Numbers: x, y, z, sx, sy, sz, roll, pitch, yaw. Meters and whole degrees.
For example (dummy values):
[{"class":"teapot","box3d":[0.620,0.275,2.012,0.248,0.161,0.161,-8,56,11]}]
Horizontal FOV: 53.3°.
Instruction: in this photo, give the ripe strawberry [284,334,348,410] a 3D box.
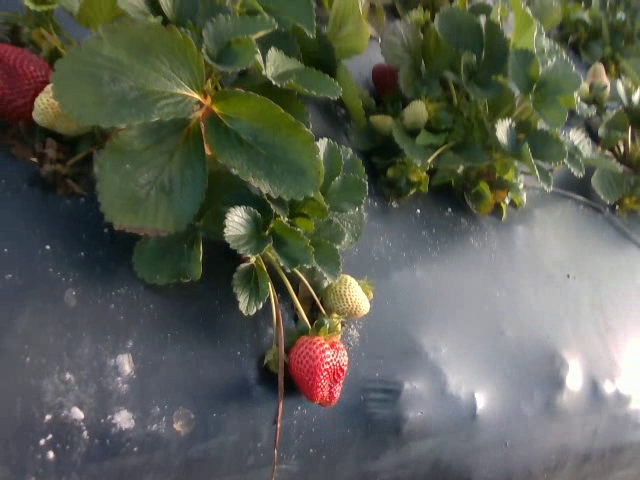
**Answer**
[{"class":"ripe strawberry","box3d":[0.004,0.089,0.430,0.047,0.050,0.034,4,-13,-30]}]

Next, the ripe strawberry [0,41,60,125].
[{"class":"ripe strawberry","box3d":[-0.216,-0.113,0.436,0.057,0.058,0.071,11,-28,38]}]
